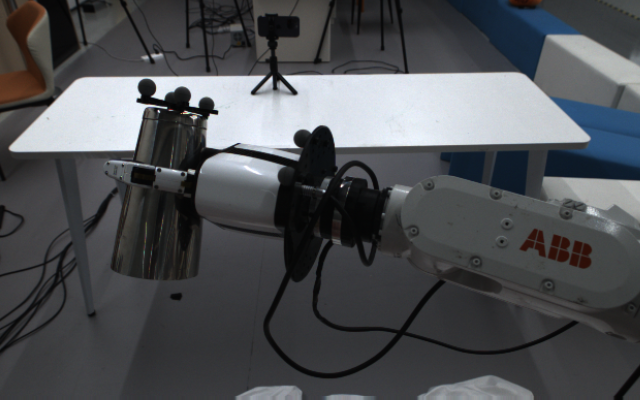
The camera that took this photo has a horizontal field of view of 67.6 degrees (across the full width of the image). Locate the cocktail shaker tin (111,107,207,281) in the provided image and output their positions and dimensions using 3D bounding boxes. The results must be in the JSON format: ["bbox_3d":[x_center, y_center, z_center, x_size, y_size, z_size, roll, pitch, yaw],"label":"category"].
[{"bbox_3d":[-0.165,-0.007,0.522,0.093,0.170,0.093,9,3,0],"label":"cocktail shaker tin"}]
